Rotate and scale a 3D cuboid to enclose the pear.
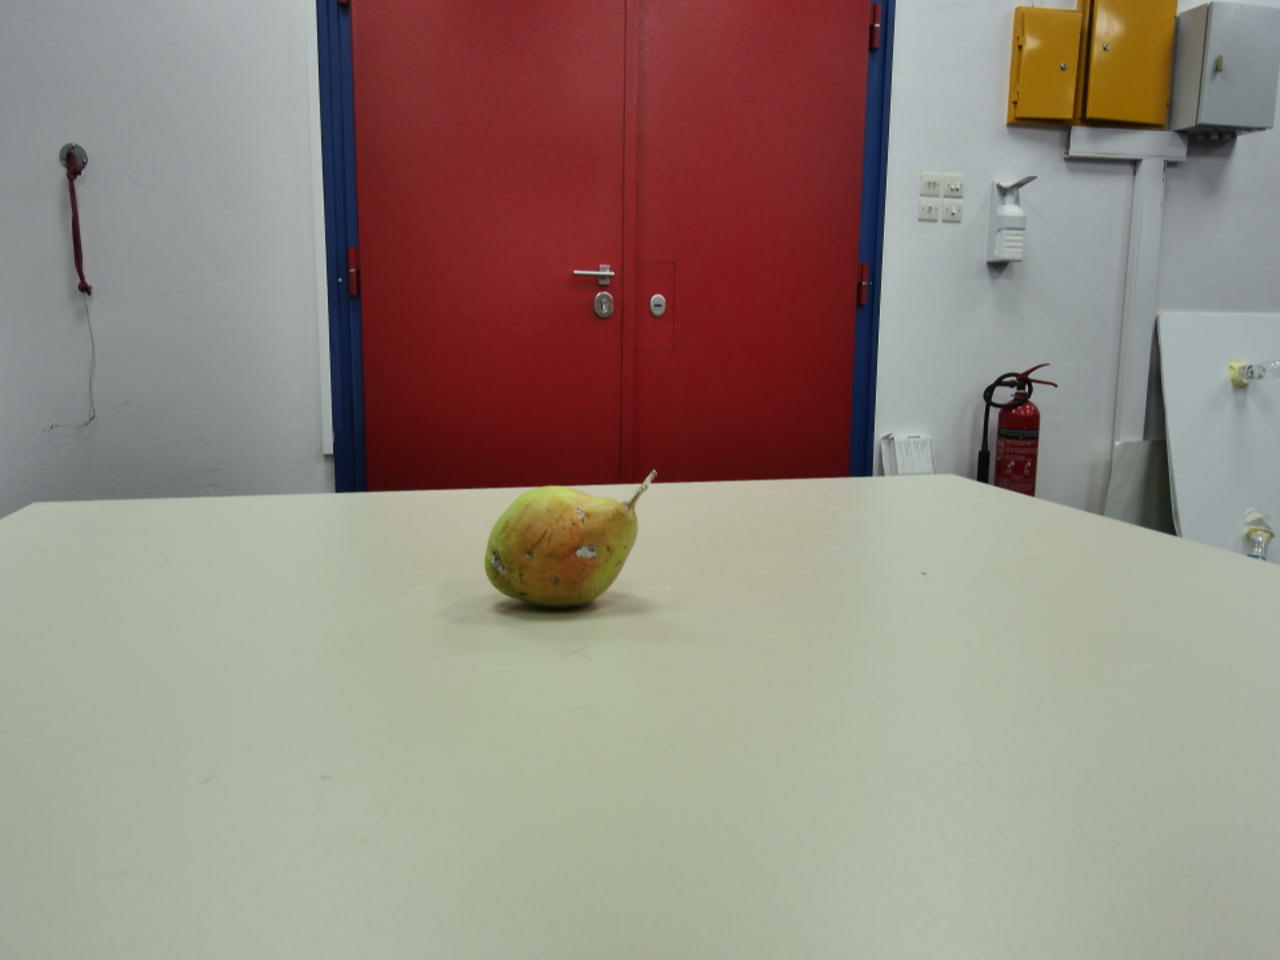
[{"bbox_3d":[-0.040,0.030,0.511,0.070,0.069,0.068,5,8,38],"label":"pear"}]
